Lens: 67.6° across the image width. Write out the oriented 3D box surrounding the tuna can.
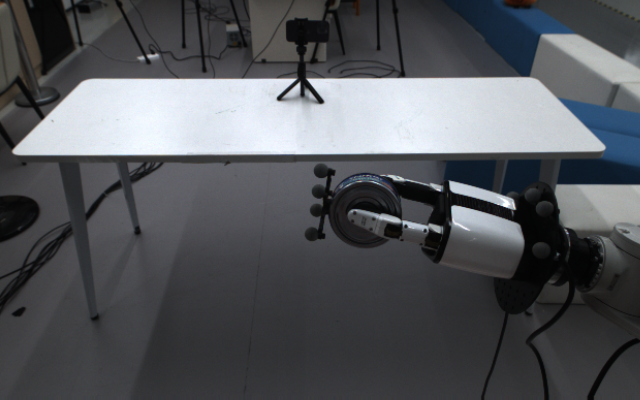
[{"bbox_3d":[0.057,0.016,0.568,0.085,0.085,0.034,4,18,3],"label":"tuna can"}]
